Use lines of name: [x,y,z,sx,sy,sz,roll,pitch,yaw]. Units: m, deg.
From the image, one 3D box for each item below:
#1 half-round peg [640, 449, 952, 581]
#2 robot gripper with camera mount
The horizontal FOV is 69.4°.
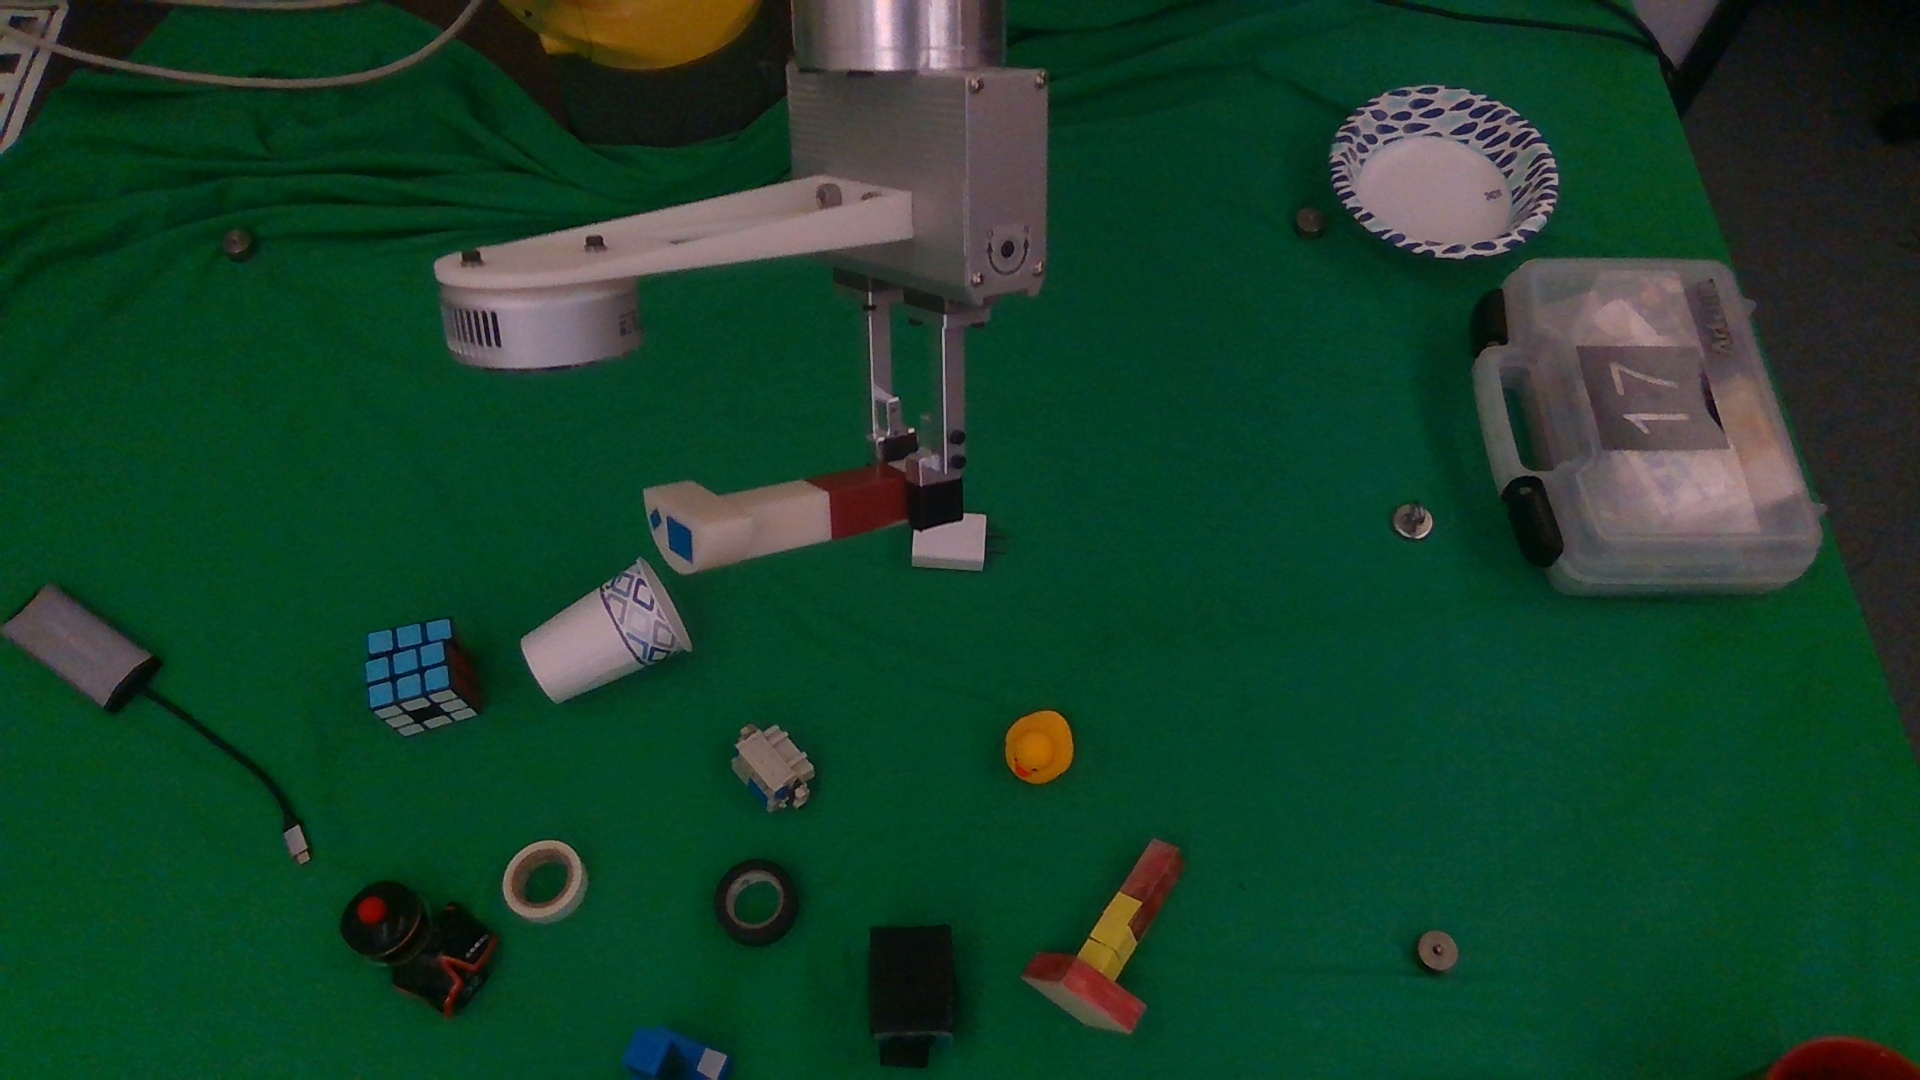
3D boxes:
half-round peg: [-0.055,-0.013,0.523,0.121,0.031,0.055,-14,26,-34]
robot gripper with camera mount: [-0.076,-0.063,0.480,0.193,0.158,0.119,-19,28,-34]
